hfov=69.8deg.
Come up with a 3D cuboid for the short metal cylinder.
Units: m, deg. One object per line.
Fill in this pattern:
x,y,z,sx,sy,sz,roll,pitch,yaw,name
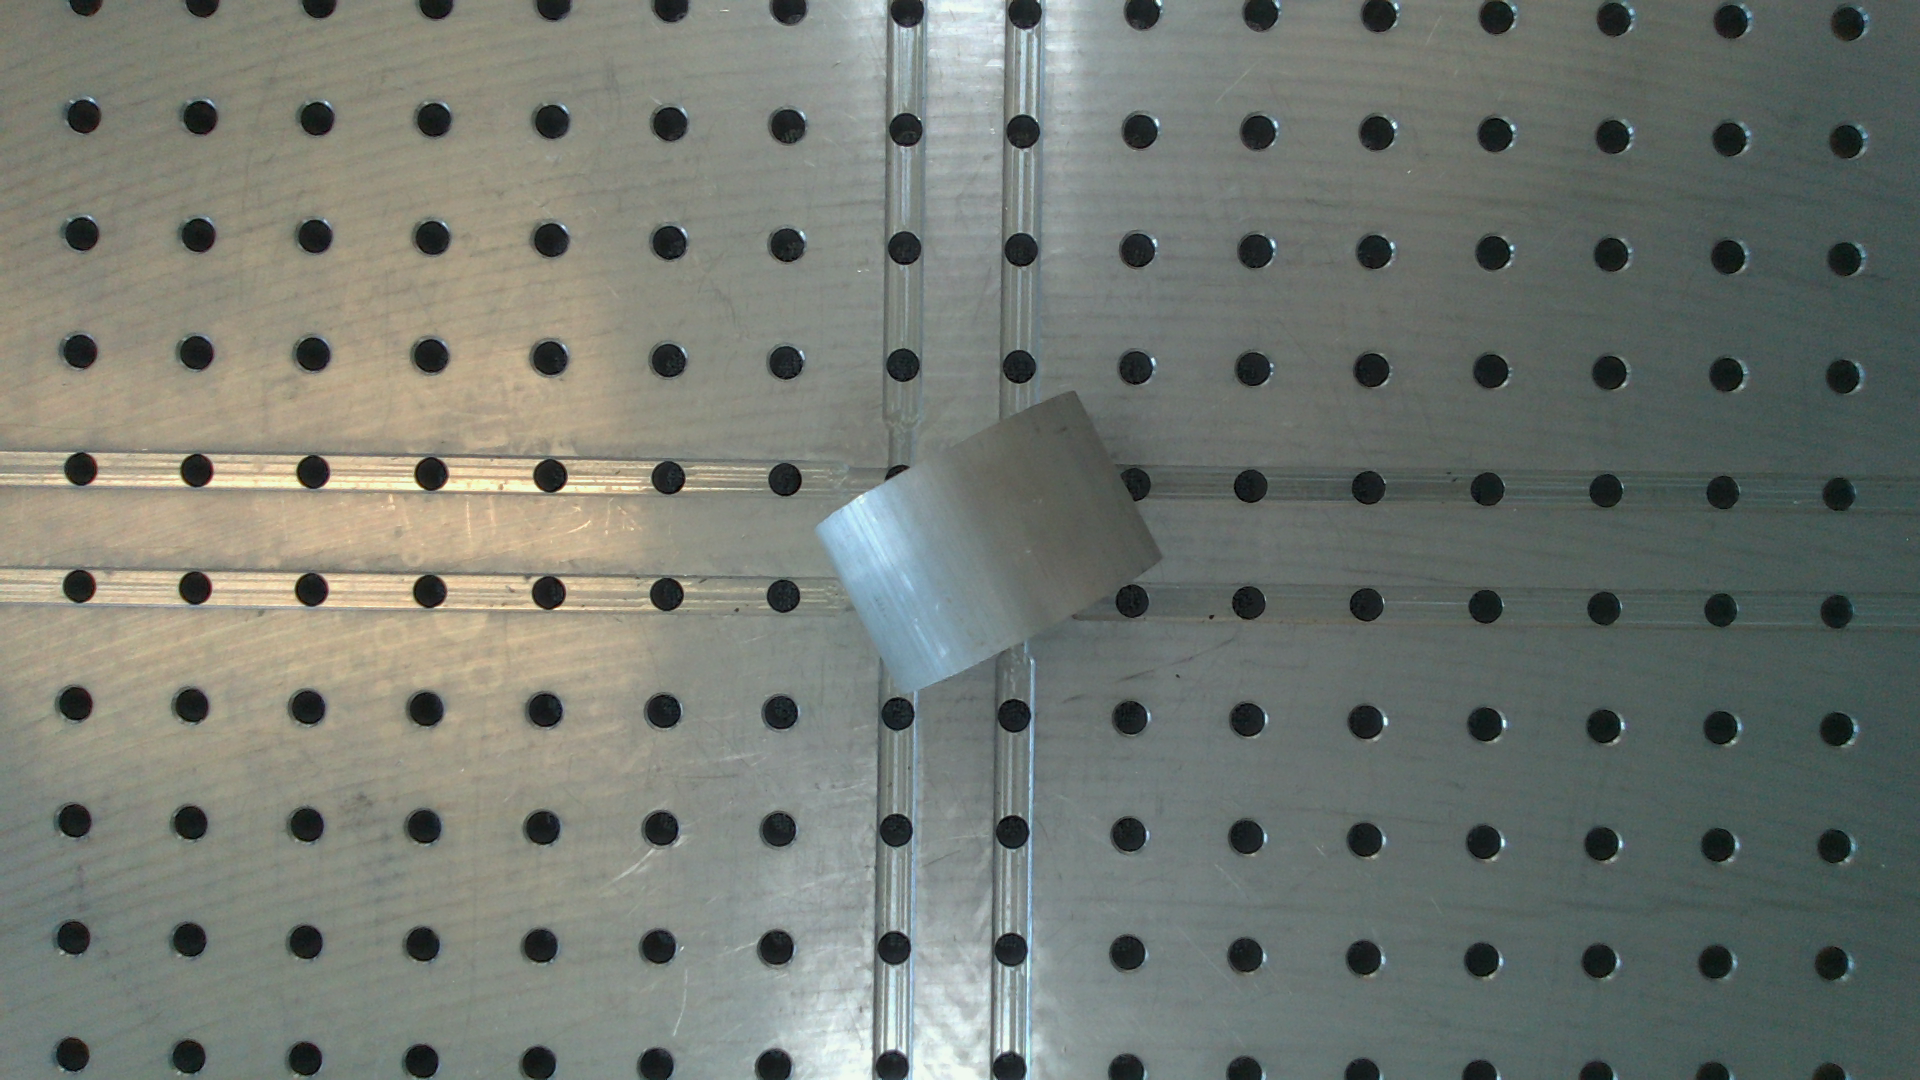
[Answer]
0.007,0.001,0.369,0.080,0.080,0.050,-28,89,0,short metal cylinder
